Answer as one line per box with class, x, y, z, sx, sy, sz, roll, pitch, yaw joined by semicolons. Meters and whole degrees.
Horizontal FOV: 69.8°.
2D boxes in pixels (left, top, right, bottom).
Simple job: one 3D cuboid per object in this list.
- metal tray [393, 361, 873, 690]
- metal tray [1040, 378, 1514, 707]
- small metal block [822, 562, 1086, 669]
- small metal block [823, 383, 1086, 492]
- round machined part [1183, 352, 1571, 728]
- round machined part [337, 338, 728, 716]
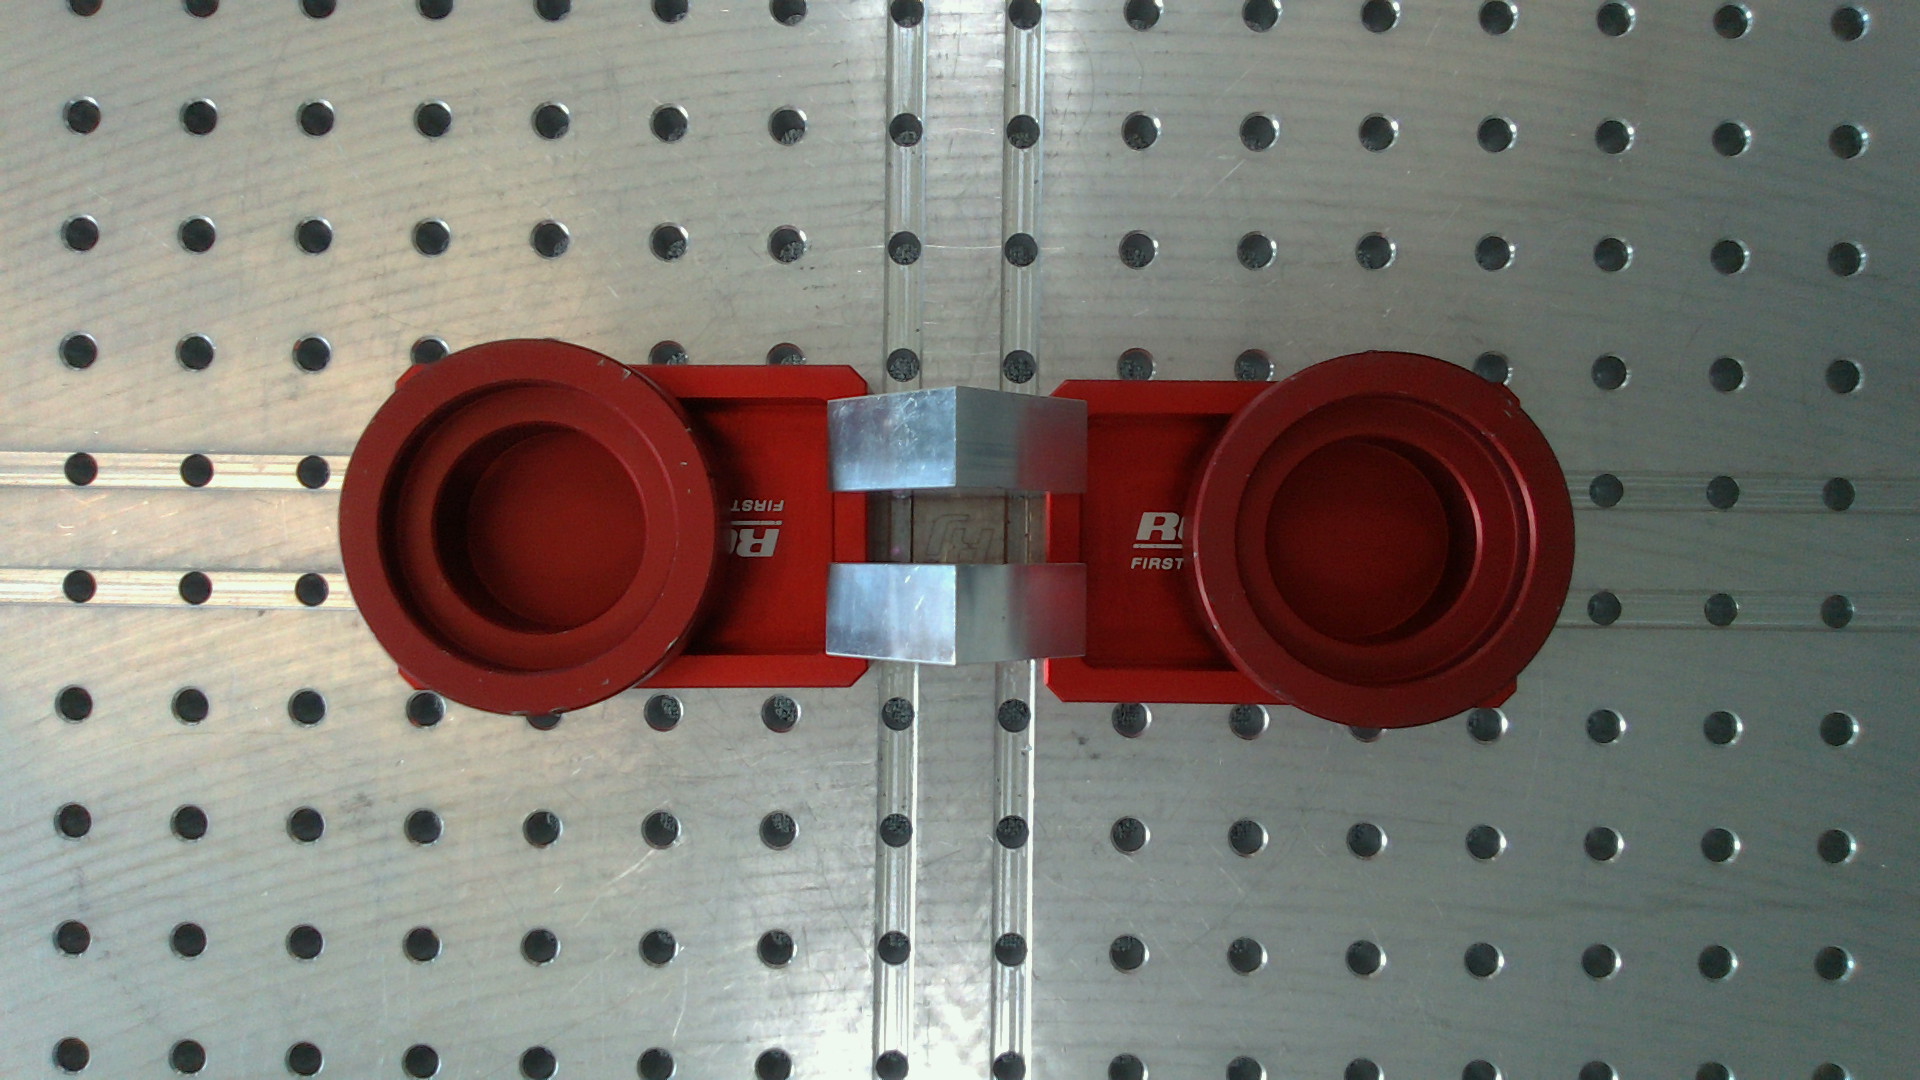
metal tray;-0.091;-0.004;0.396;0.130;0.030;0.090;-1;92;0
metal tray;0.089;0.001;0.396;0.130;0.030;0.090;1;90;0
small metal block;-0.002;0.019;0.370;0.050;0.050;0.025;1;90;44
small metal block;-0.001;-0.026;0.371;0.050;0.050;0.025;1;90;44
round machined part;0.110;0.000;0.377;0.098;0.042;0.098;0;90;0
round machined part;-0.112;-0.004;0.376;0.098;0.042;0.098;0;90;0
